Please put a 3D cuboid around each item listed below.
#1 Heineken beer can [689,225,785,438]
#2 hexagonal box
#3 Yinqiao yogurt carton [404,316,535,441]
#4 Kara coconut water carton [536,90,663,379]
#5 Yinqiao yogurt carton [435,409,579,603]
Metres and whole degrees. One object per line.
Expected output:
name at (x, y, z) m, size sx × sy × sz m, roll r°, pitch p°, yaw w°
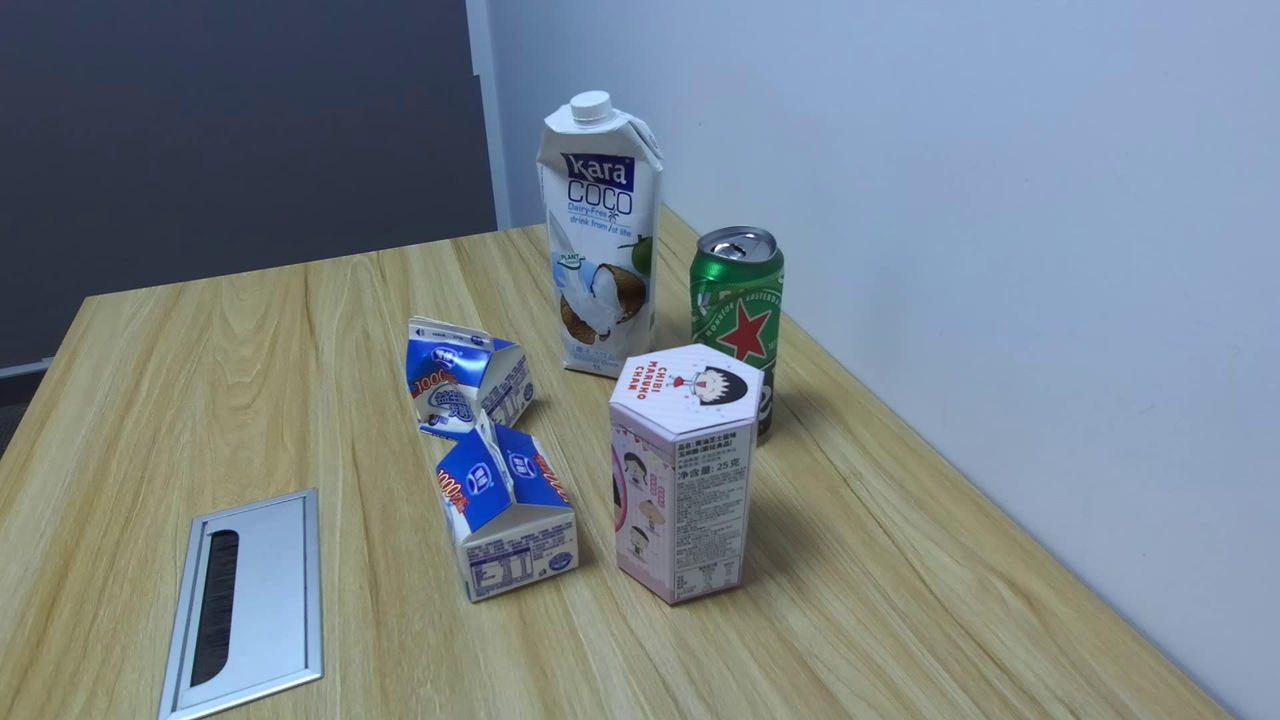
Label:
Heineken beer can at (0.072, -0.014, 0.523) m, size 0.078 × 0.164 × 0.066 m, roll -7°, pitch 34°, yaw -5°
hexagonal box at (0.026, 0.070, 0.425) m, size 0.084 × 0.136 × 0.091 m, roll 7°, pitch 35°, yaw 10°
Yinqiao yogurt carton at (-0.137, 0.009, 0.556) m, size 0.077 × 0.094 × 0.071 m, roll 11°, pitch 41°, yaw 19°
Kara coconut water carton at (-0.030, -0.098, 0.579) m, size 0.115 × 0.239 × 0.069 m, roll 11°, pitch 37°, yaw 18°
Yinqiao yogurt carton at (-0.086, 0.086, 0.445) m, size 0.074 × 0.092 × 0.075 m, roll -14°, pitch 37°, yaw -20°
